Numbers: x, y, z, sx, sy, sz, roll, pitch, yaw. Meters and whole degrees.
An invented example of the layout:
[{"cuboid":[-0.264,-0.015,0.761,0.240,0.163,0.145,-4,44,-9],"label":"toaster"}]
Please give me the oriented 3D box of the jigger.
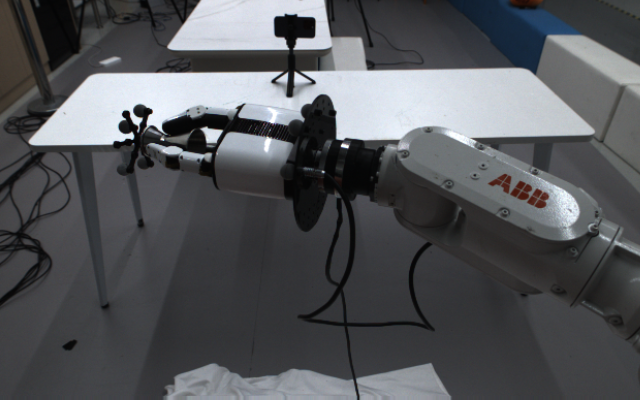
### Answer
[{"cuboid":[-0.177,-0.072,0.605,0.071,0.043,0.043,7,35,16],"label":"jigger"}]
